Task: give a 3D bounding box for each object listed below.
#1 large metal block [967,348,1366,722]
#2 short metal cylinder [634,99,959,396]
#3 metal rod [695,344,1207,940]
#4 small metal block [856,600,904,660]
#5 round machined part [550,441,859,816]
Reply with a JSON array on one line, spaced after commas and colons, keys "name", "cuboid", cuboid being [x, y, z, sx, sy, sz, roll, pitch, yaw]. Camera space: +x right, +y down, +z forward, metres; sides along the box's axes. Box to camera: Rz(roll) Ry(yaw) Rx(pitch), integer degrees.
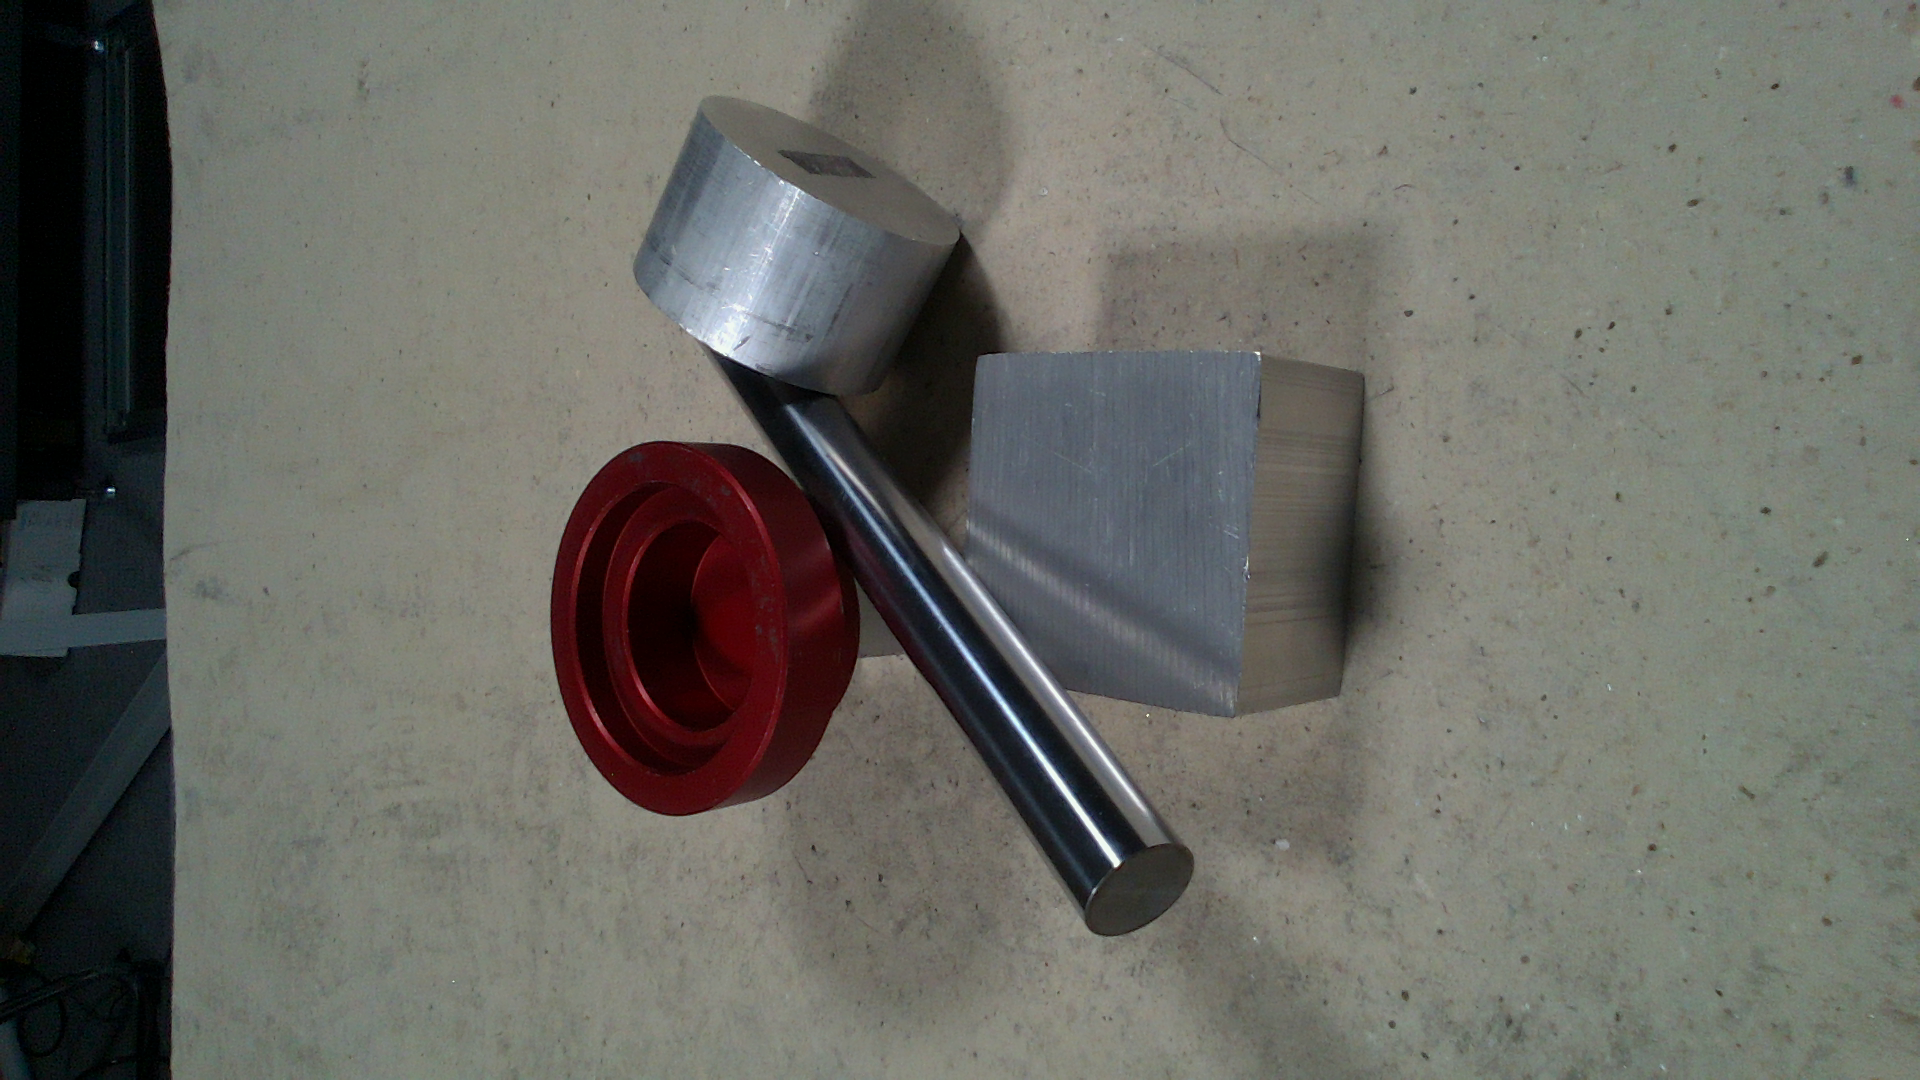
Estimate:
[{"name": "large metal block", "cuboid": [0.048, -0.004, 0.338, 0.080, 0.050, 0.080, 6, 94, 40]}, {"name": "short metal cylinder", "cuboid": [-0.047, -0.085, 0.399, 0.080, 0.080, 0.050, 45, 117, 31]}, {"name": "metal rod", "cuboid": [-0.030, -0.015, 0.371, 0.299, 0.025, 0.025, 51, 121, 44]}, {"name": "small metal block", "cuboid": [-0.039, 0.011, 0.412, 0.025, 0.050, 0.050, -3, 88, 40]}, {"name": "round machined part", "cuboid": [-0.066, 0.023, 0.375, 0.098, 0.042, 0.098, 2, 92, 40]}]
